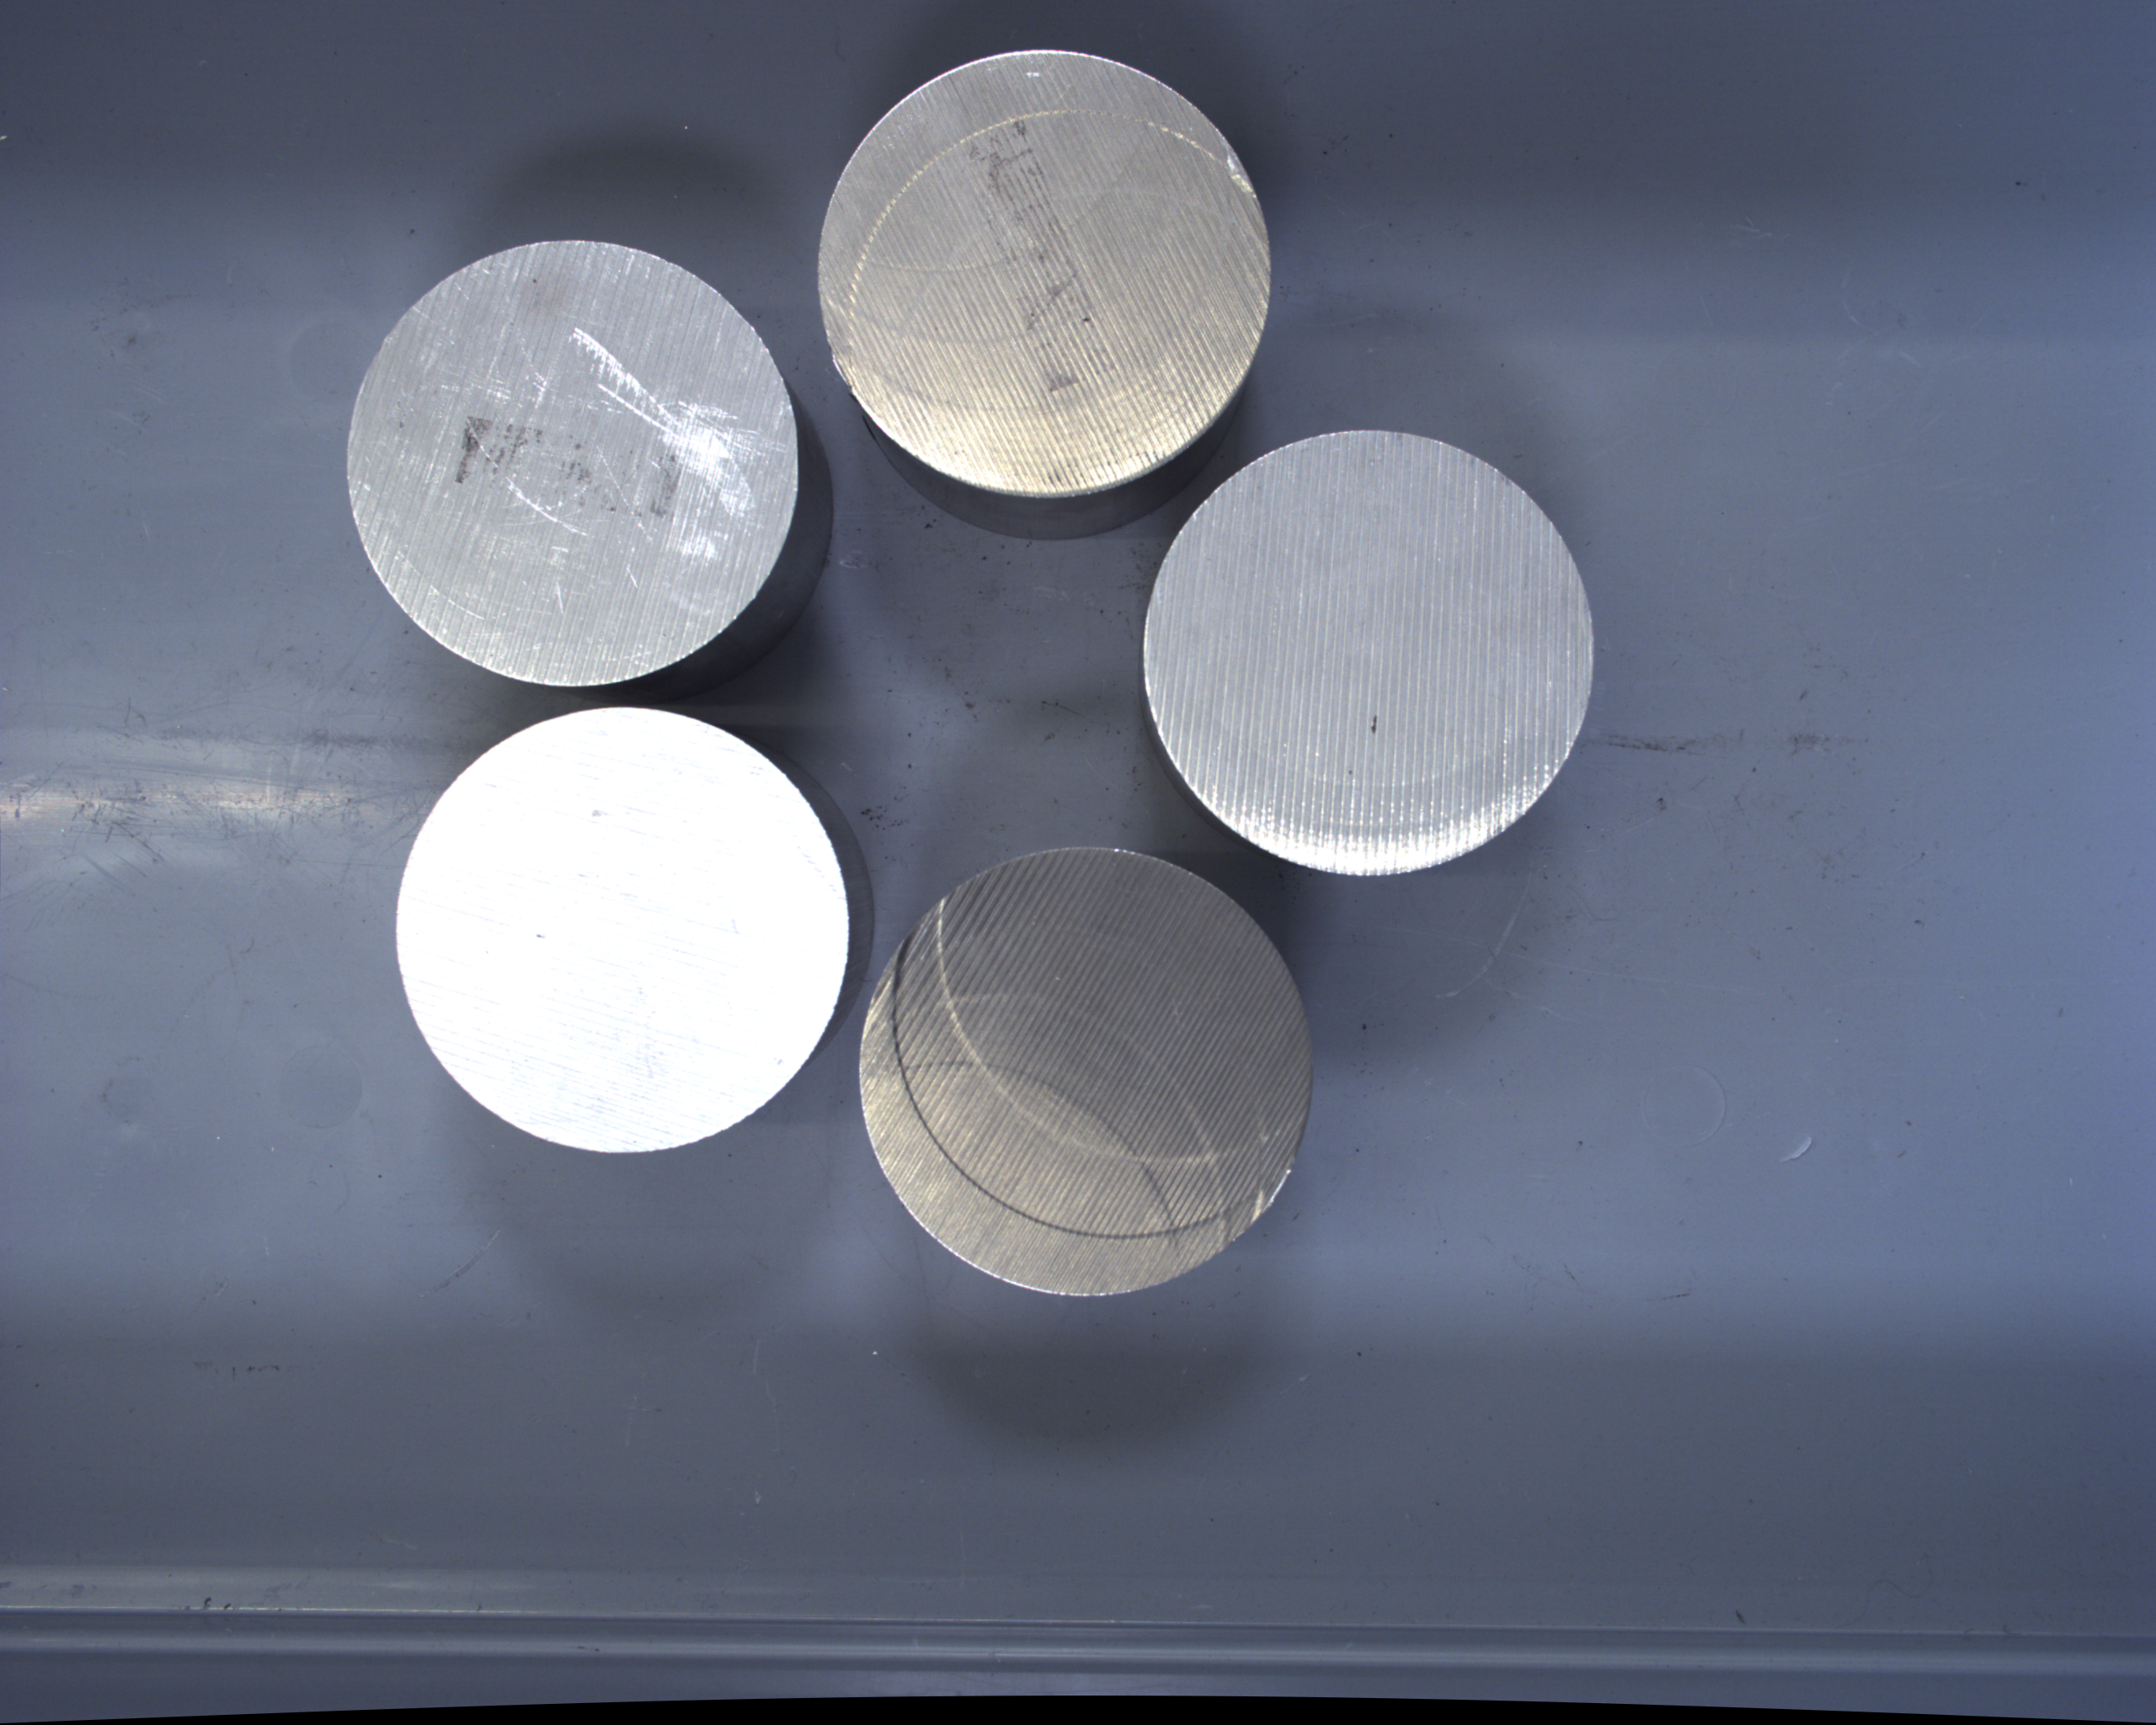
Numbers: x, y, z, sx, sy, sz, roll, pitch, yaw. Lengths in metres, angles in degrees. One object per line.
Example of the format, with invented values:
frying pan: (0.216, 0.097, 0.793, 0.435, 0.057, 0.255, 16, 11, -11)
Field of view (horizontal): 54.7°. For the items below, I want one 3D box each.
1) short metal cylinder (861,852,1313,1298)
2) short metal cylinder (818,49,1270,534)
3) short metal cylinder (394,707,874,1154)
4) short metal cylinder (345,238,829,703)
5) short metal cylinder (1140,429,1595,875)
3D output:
short metal cylinder: (0.002, 0.038, 0.397, 0.081, 0.050, 0.080, 0, 90, 0)
short metal cylinder: (-0.006, -0.105, 0.397, 0.081, 0.050, 0.080, 0, 90, 0)
short metal cylinder: (-0.081, 0.012, 0.396, 0.081, 0.050, 0.080, 0, 90, 0)
short metal cylinder: (-0.090, -0.071, 0.396, 0.081, 0.050, 0.080, 0, 90, 0)
short metal cylinder: (0.052, -0.038, 0.397, 0.081, 0.050, 0.080, 0, 90, 0)
